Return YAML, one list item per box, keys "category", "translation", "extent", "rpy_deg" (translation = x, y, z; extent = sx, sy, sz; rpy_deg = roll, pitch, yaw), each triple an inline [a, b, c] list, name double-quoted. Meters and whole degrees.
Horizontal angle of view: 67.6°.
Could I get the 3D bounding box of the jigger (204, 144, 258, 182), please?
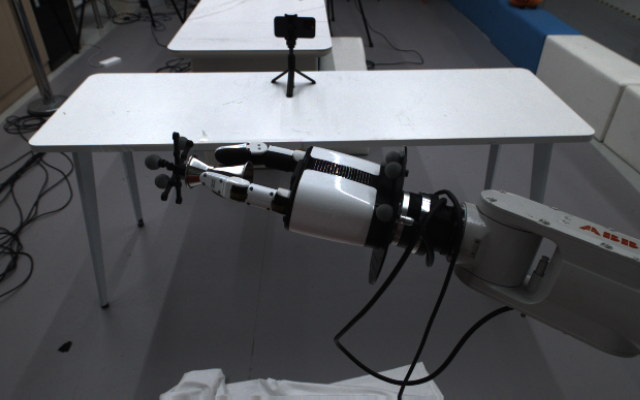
- category: "jigger"
  translation: [-0.107, -0.033, 0.560]
  extent: [0.071, 0.043, 0.043]
  rpy_deg: [7, 35, 6]
